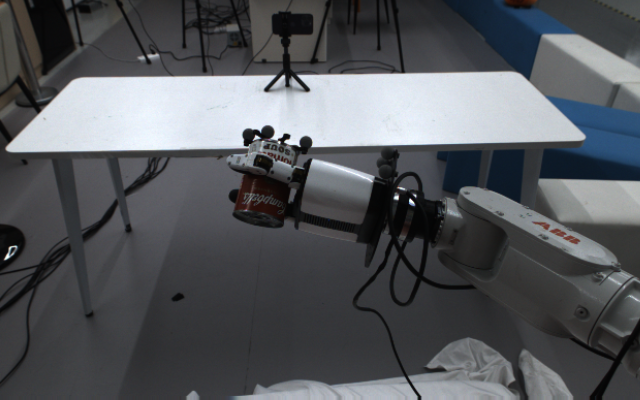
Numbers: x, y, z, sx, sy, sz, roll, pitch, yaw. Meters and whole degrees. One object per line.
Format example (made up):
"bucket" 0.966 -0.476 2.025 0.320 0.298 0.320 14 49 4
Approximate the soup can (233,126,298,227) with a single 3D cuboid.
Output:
"soup can" -0.070 -0.021 0.633 0.067 0.067 0.101 8 72 9
